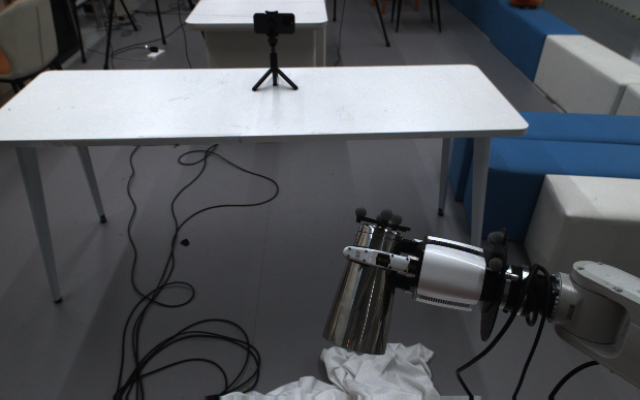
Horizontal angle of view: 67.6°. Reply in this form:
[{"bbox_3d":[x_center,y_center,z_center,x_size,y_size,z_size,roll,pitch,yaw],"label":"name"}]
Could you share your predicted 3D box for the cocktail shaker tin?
[{"bbox_3d":[0.070,0.123,0.704,0.093,0.170,0.093,15,-5,1],"label":"cocktail shaker tin"}]
